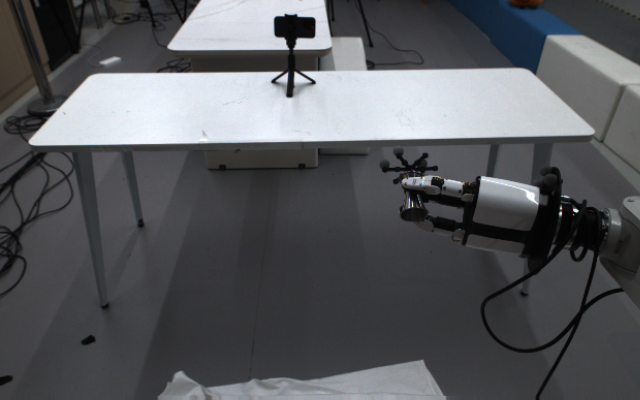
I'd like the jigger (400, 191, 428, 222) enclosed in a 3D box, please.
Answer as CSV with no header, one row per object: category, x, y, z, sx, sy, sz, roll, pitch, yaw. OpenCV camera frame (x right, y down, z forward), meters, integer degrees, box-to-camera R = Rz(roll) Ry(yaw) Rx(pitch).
jigger,0.143,-0.011,0.744,0.043,0.043,0.071,2,59,-1
